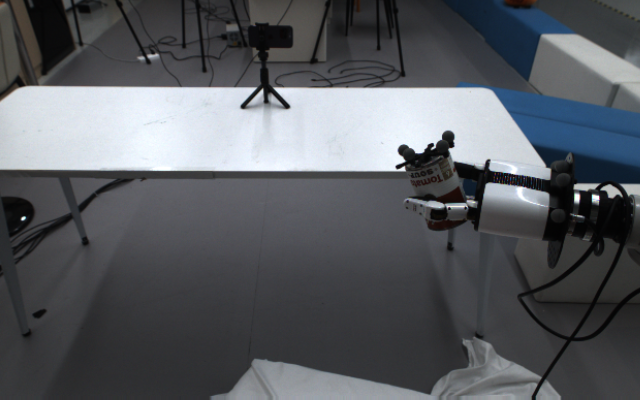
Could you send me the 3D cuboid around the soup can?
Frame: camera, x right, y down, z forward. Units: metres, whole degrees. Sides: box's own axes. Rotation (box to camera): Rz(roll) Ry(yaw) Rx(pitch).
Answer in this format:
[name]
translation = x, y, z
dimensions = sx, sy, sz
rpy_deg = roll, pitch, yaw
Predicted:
[soup can]
translation = 0.173, -0.017, 0.703
dimensions = 0.067, 0.101, 0.067
rpy_deg = -23, 16, 7
